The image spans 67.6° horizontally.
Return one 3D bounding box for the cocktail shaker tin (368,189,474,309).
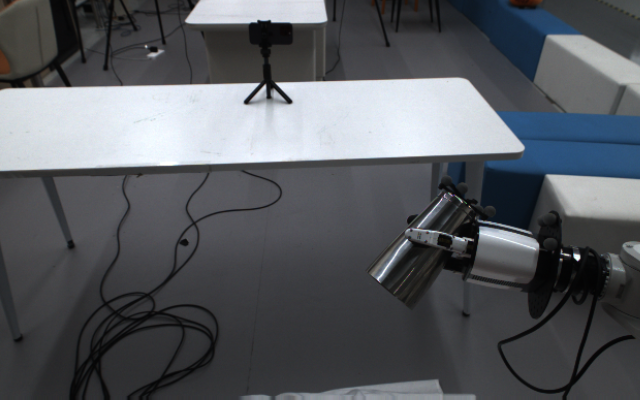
[{"bbox_3d":[0.159,0.067,0.734,0.170,0.093,0.093,-48,49,-3],"label":"cocktail shaker tin"}]
